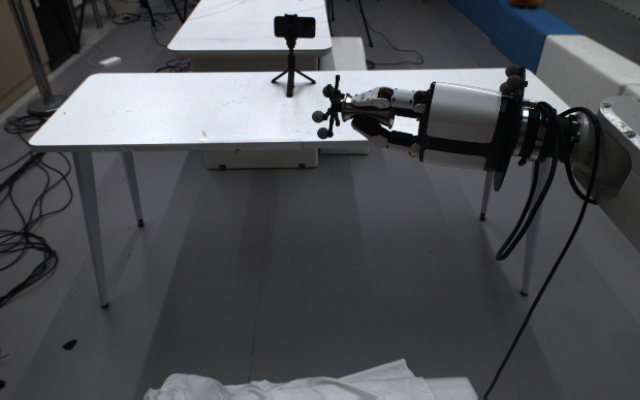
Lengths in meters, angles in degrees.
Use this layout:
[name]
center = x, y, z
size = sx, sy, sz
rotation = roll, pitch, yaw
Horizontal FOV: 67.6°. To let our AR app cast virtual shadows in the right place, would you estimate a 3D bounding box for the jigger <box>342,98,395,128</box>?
[jigger]
center = 0.074, -0.130, 0.671
size = 0.071, 0.043, 0.043
rotation = 9, 35, 16
